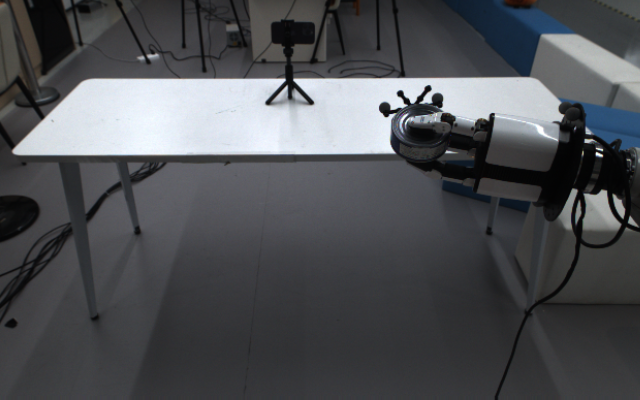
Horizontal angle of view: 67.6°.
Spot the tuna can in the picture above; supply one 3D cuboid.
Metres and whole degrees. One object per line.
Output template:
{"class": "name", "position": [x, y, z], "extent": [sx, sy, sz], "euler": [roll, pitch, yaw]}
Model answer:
{"class": "tuna can", "position": [0.146, -0.099, 0.696], "extent": [0.085, 0.034, 0.085], "euler": [-3, 59, 5]}
